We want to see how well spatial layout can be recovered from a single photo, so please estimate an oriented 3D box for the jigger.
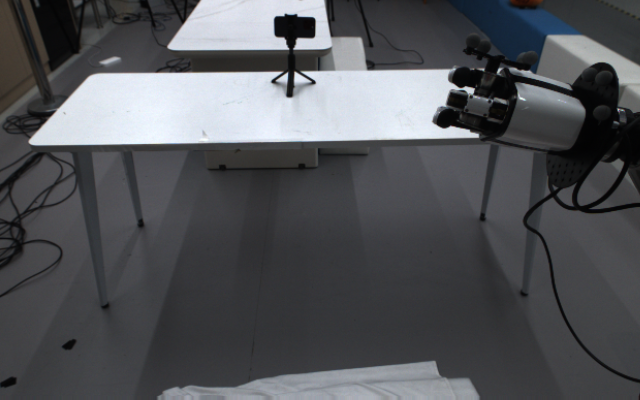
[{"bbox_3d":[0.204,-0.128,0.615,0.043,0.071,0.043,15,16,-5],"label":"jigger"}]
